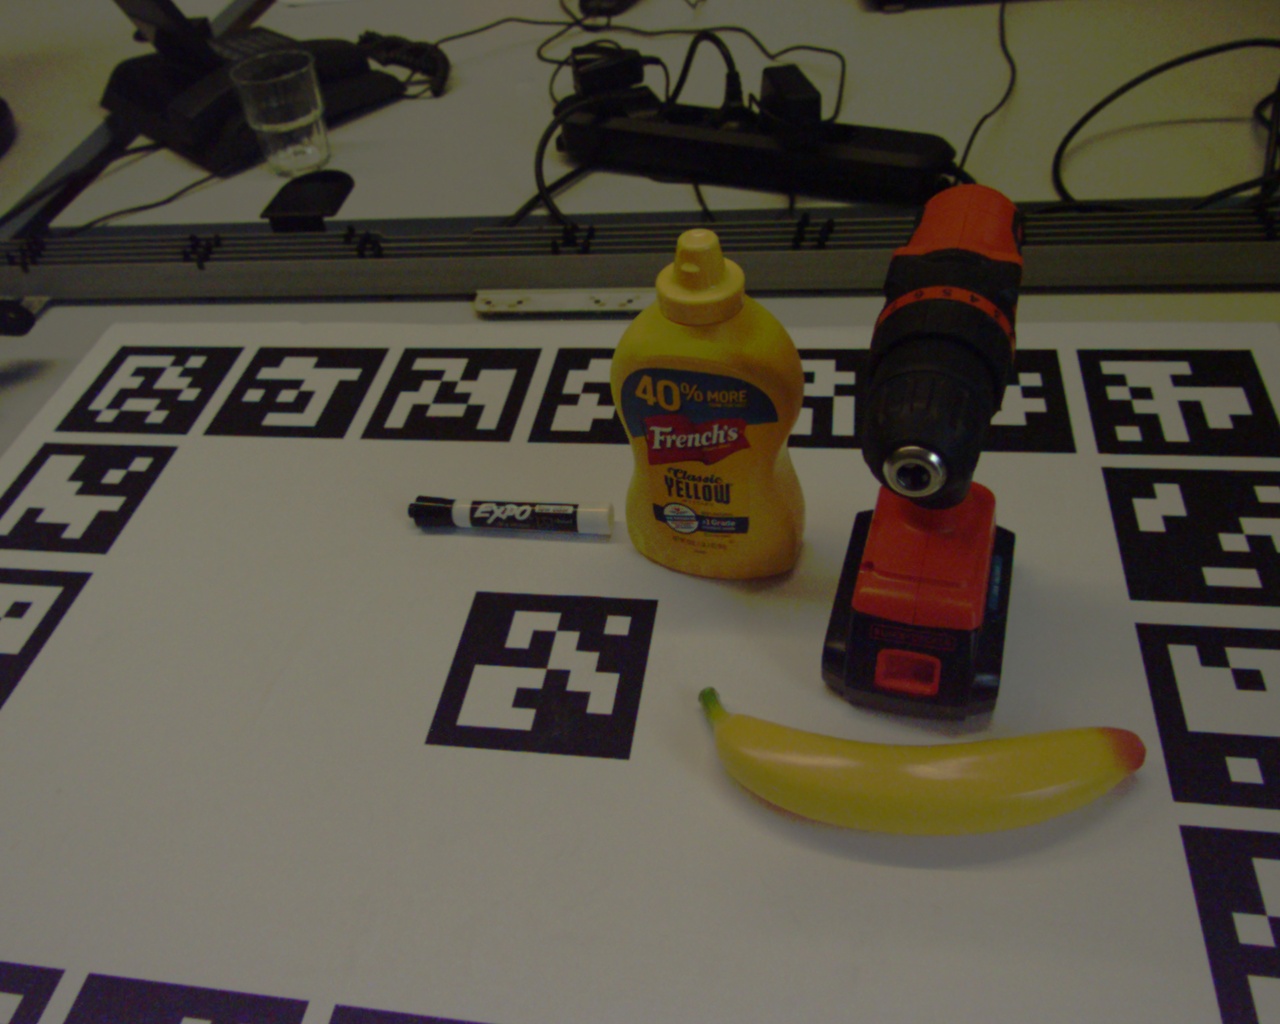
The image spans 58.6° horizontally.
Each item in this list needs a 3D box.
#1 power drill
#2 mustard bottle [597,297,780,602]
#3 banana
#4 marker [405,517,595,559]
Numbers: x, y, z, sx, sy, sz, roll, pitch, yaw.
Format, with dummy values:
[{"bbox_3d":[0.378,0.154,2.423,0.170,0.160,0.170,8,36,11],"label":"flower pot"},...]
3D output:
[{"bbox_3d":[0.119,0.005,0.540,0.058,0.186,0.184,13,47,18],"label":"power drill"},{"bbox_3d":[0.026,-0.033,0.616,0.097,0.190,0.058,11,48,17],"label":"mustard bottle"},{"bbox_3d":[0.106,0.134,0.549,0.199,0.038,0.074,7,49,18],"label":"banana"},{"bbox_3d":[-0.088,0.016,0.708,0.122,0.019,0.019,3,47,13],"label":"marker"}]
